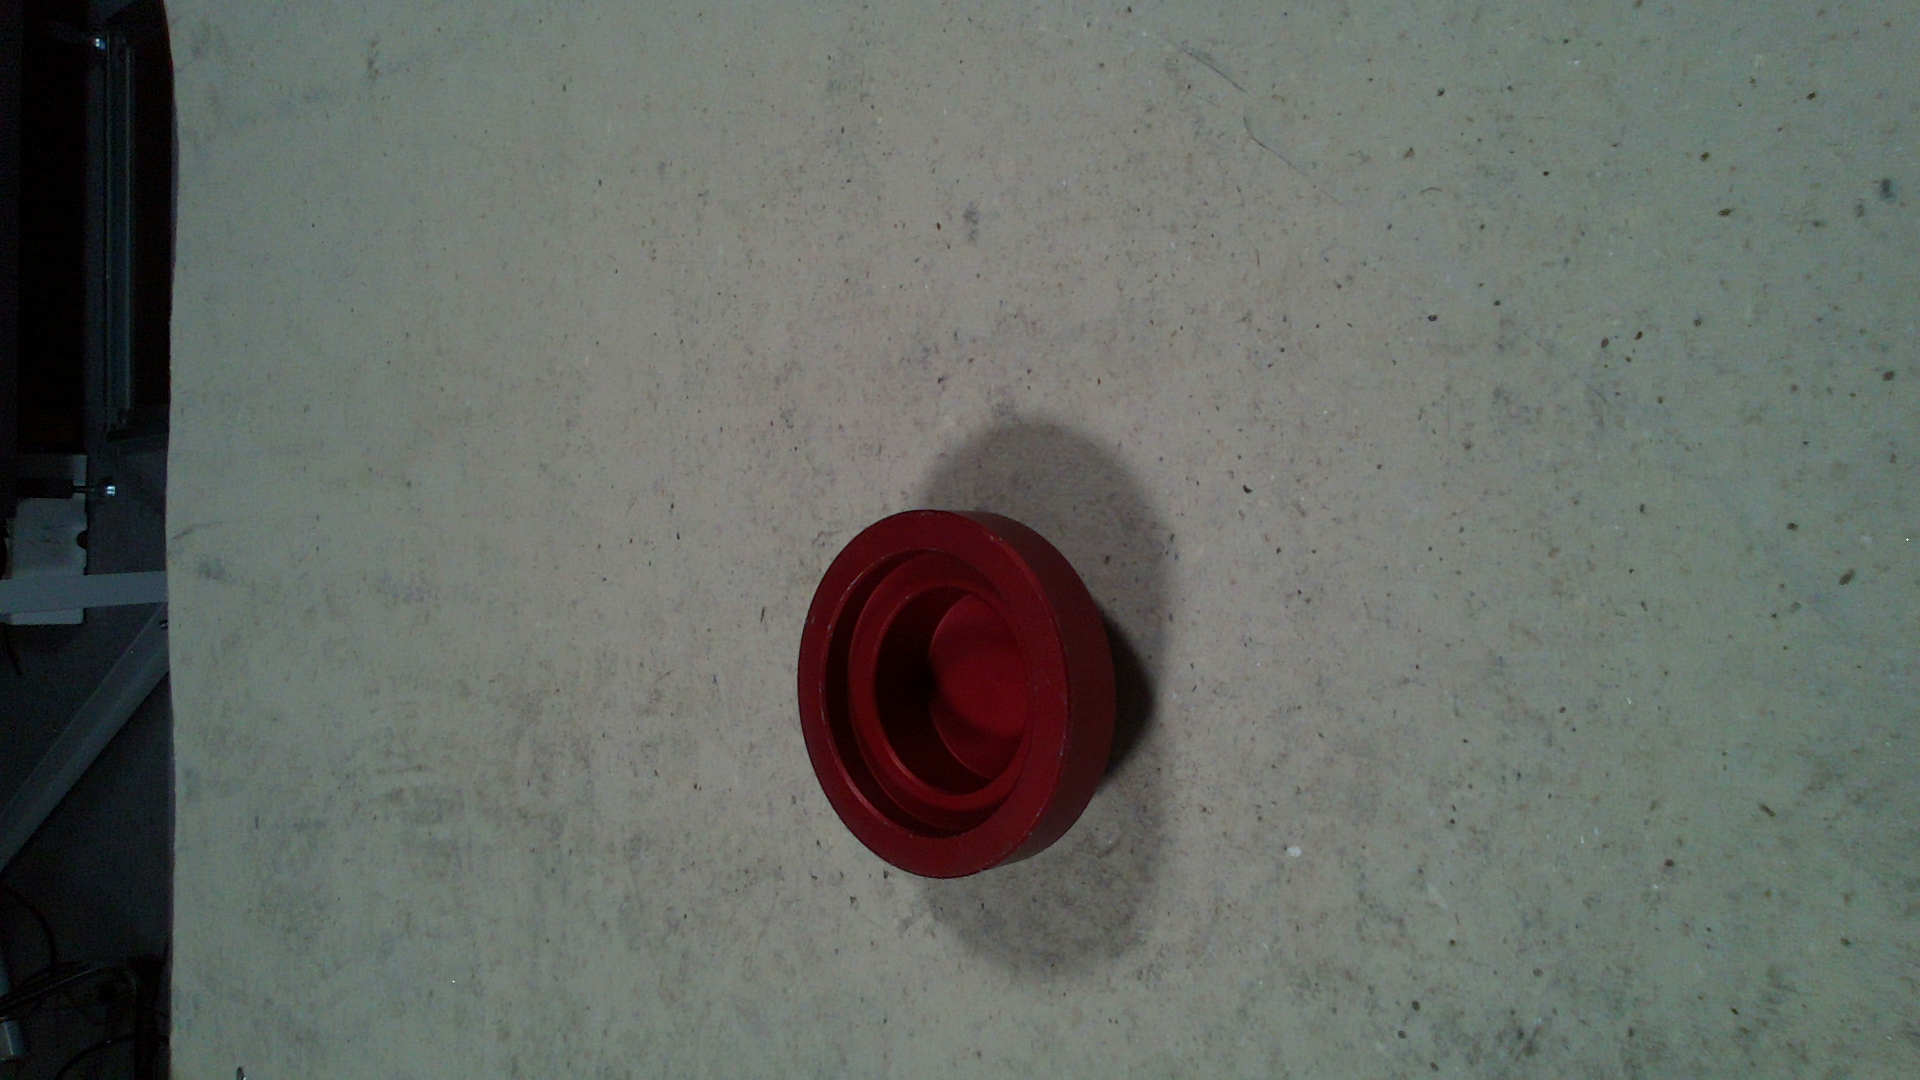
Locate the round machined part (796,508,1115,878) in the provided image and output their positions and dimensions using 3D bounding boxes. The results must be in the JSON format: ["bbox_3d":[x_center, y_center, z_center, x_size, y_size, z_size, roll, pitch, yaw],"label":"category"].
[{"bbox_3d":[0.003,0.040,0.381,0.098,0.042,0.098,0,90,40],"label":"round machined part"}]
